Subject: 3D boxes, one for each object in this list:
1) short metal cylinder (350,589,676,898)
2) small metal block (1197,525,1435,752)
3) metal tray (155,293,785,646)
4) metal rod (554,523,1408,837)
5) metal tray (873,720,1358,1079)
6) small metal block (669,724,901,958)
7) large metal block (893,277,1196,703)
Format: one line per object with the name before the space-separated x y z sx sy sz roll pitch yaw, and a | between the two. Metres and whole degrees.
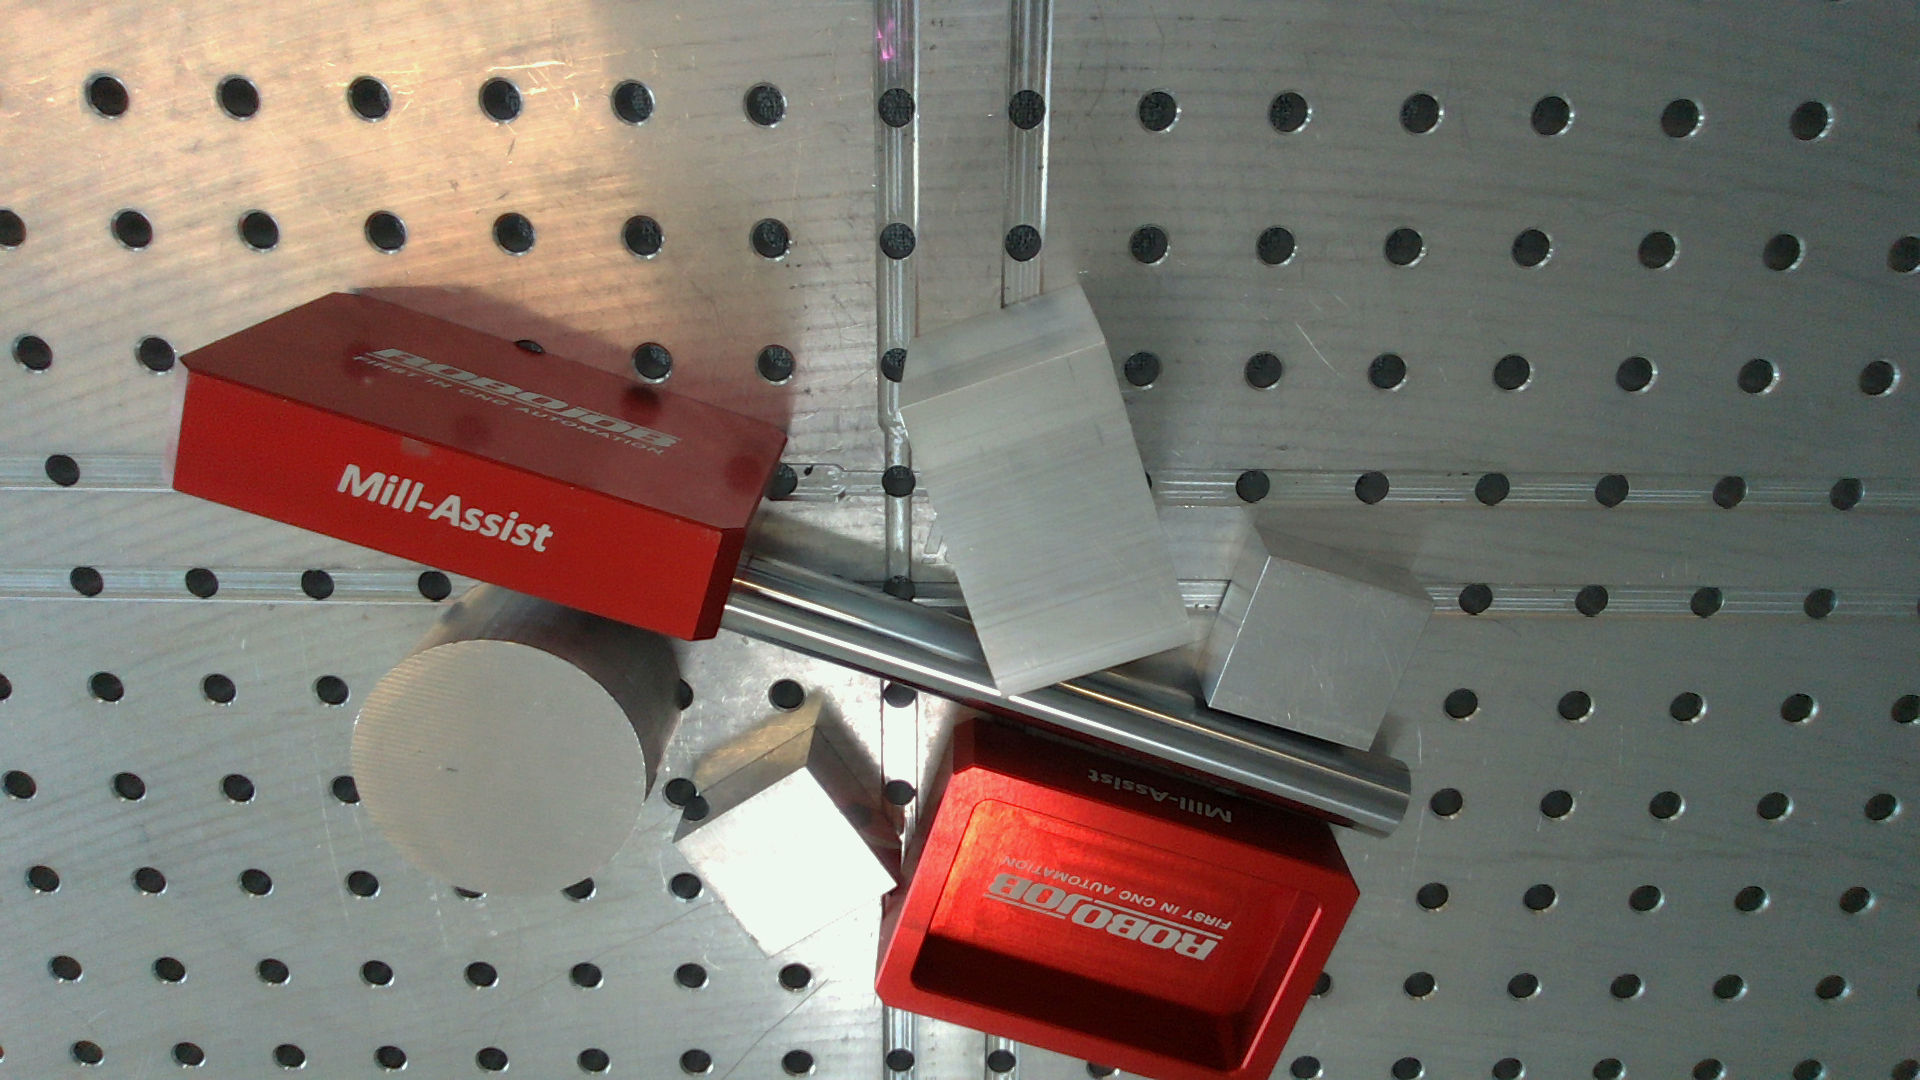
short metal cylinder | -0.128 0.056 0.402 0.080 0.050 0.080 0 110 0
small metal block | 0.104 0.029 0.408 0.050 0.025 0.050 16 109 -6
metal tray | -0.116 -0.022 0.352 0.130 0.090 0.030 18 109 -6
metal rod | -0.009 0.033 0.408 0.300 0.025 0.025 18 109 -7
metal tray | 0.047 0.119 0.437 0.130 0.030 0.090 17 110 -7
small metal block | -0.054 0.094 0.432 0.050 0.025 0.050 -31 107 11
large metal block | 0.021 -0.017 0.363 0.050 0.080 0.080 -17 109 6
